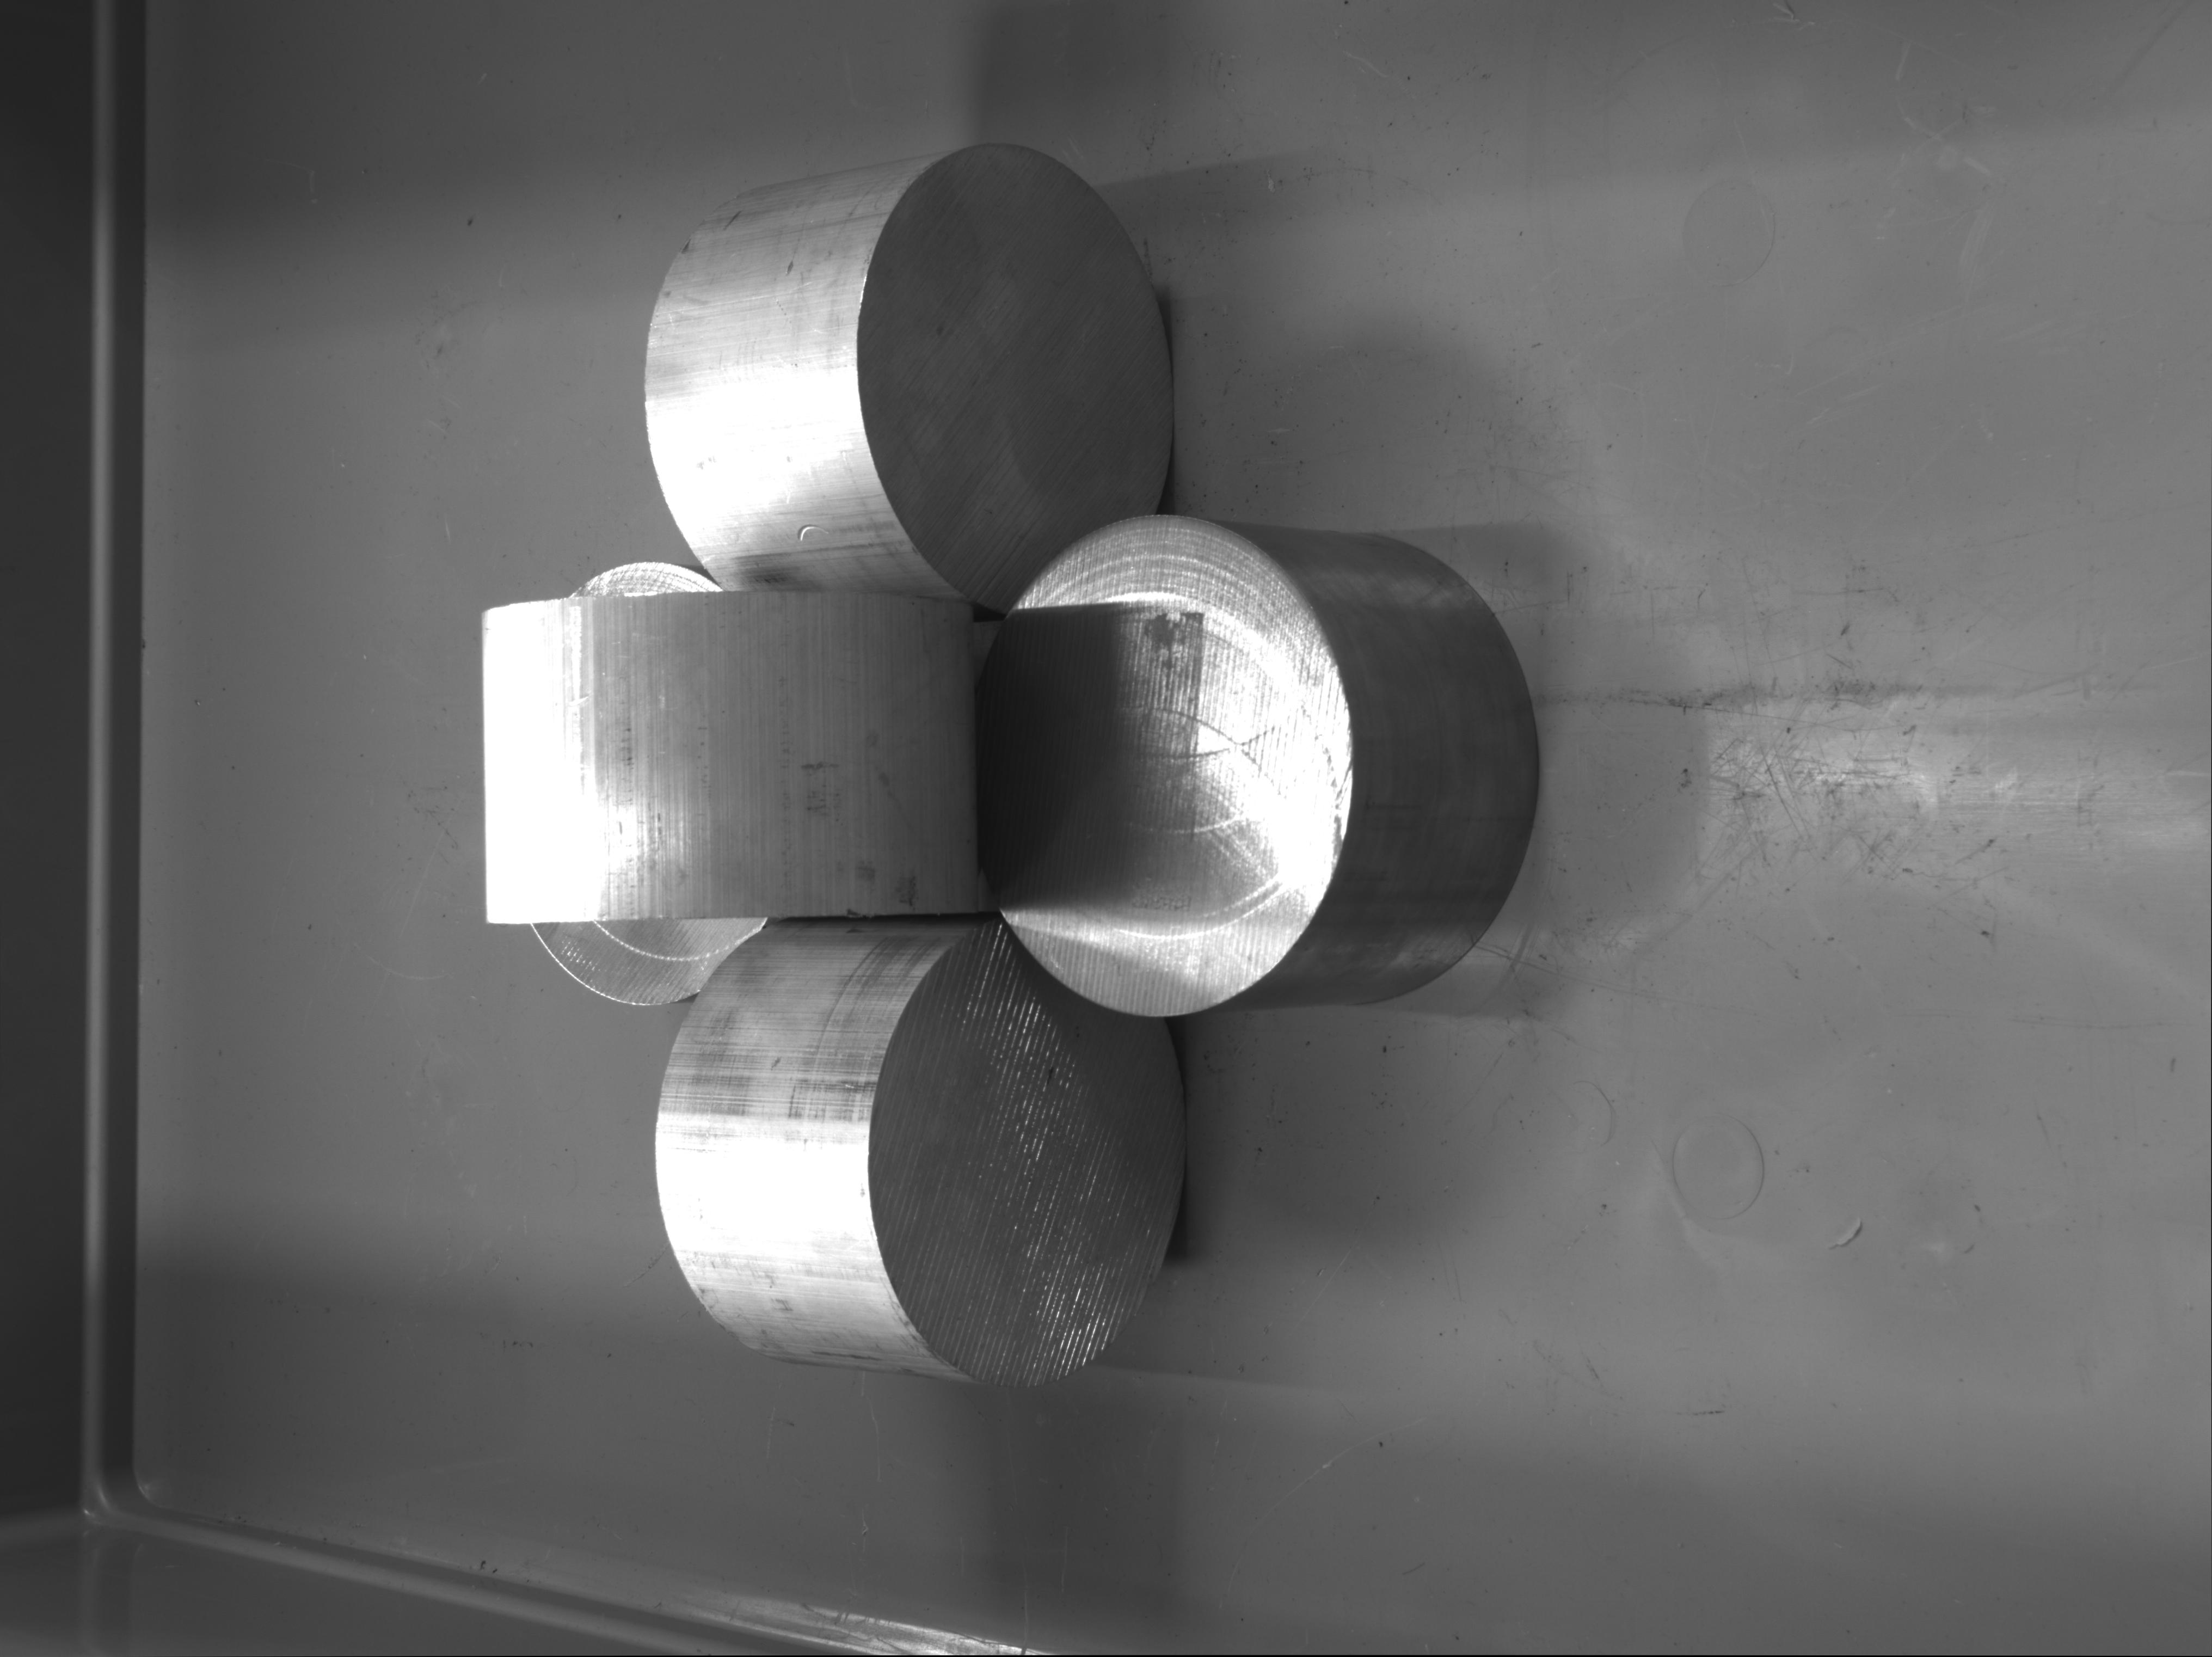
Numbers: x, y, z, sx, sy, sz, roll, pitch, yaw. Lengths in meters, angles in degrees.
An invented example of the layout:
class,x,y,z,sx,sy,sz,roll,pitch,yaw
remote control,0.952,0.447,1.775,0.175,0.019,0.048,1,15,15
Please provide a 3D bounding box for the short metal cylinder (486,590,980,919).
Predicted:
class,x,y,z,sx,sy,sz,roll,pitch,yaw
short metal cylinder,-0.061,-0.011,0.601,0.080,0.080,0.050,-2,89,40

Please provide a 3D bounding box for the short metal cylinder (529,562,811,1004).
class,x,y,z,sx,sy,sz,roll,pitch,yaw
short metal cylinder,-0.068,-0.008,0.684,0.080,0.050,0.080,0,90,40

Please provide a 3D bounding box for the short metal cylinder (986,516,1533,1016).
class,x,y,z,sx,sy,sz,roll,pitch,yaw
short metal cylinder,0.023,-0.010,0.607,0.080,0.050,0.080,0,90,40

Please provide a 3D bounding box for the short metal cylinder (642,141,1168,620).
class,x,y,z,sx,sy,sz,roll,pitch,yaw
short metal cylinder,-0.034,-0.075,0.635,0.050,0.080,0.080,-3,88,40

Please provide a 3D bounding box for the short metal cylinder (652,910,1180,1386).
class,x,y,z,sx,sy,sz,roll,pitch,yaw
short metal cylinder,-0.032,0.054,0.634,0.050,0.080,0.080,-3,88,40
